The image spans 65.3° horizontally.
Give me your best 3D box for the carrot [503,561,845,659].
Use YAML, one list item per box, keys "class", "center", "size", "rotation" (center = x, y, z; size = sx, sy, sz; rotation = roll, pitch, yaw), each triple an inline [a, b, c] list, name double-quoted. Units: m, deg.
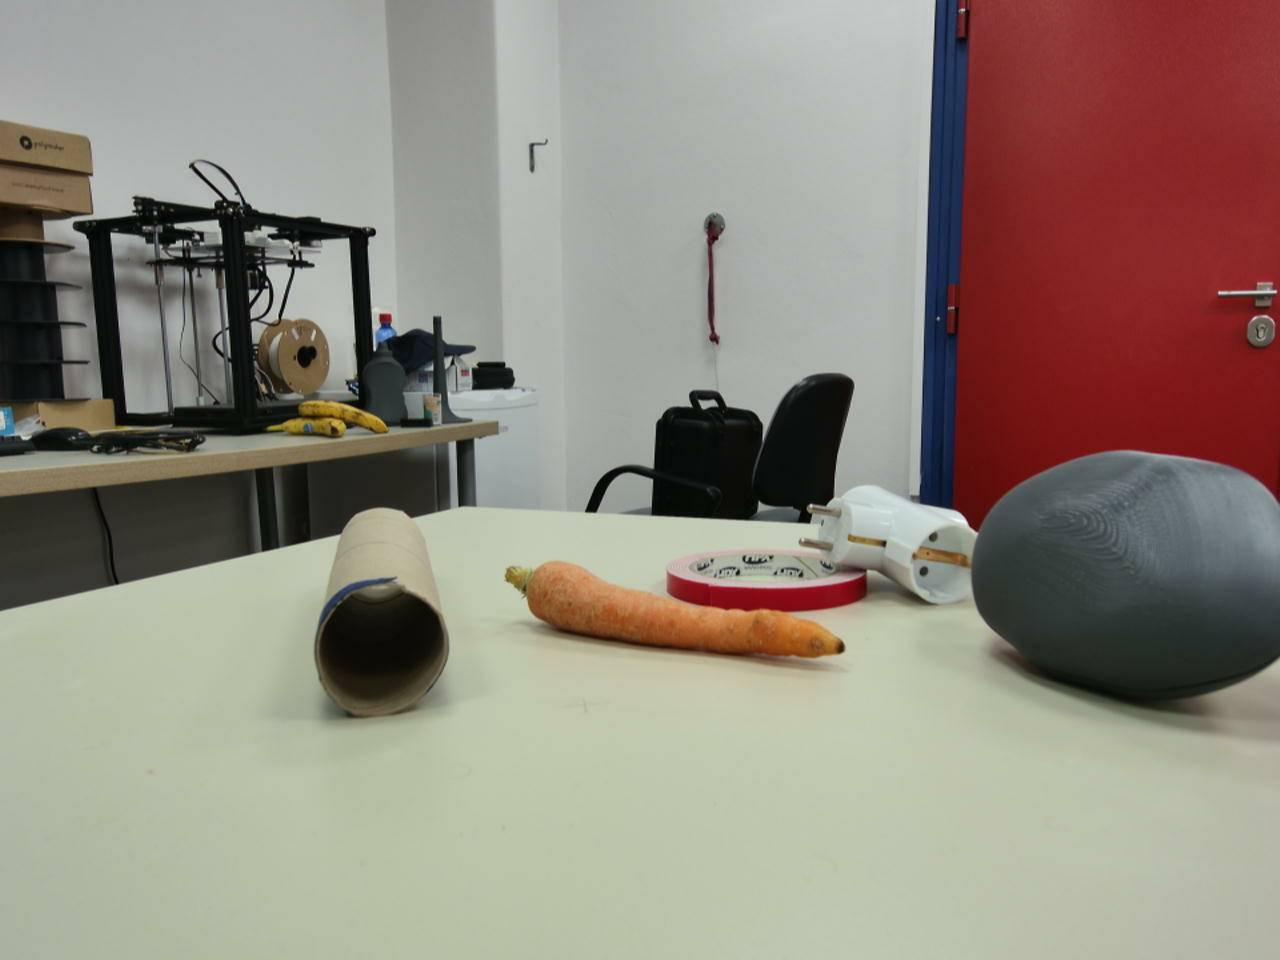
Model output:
- class: "carrot"
  center: [0.008, 0.057, 0.445]
  size: [0.173, 0.032, 0.030]
  rotation: [3, 4, 34]
